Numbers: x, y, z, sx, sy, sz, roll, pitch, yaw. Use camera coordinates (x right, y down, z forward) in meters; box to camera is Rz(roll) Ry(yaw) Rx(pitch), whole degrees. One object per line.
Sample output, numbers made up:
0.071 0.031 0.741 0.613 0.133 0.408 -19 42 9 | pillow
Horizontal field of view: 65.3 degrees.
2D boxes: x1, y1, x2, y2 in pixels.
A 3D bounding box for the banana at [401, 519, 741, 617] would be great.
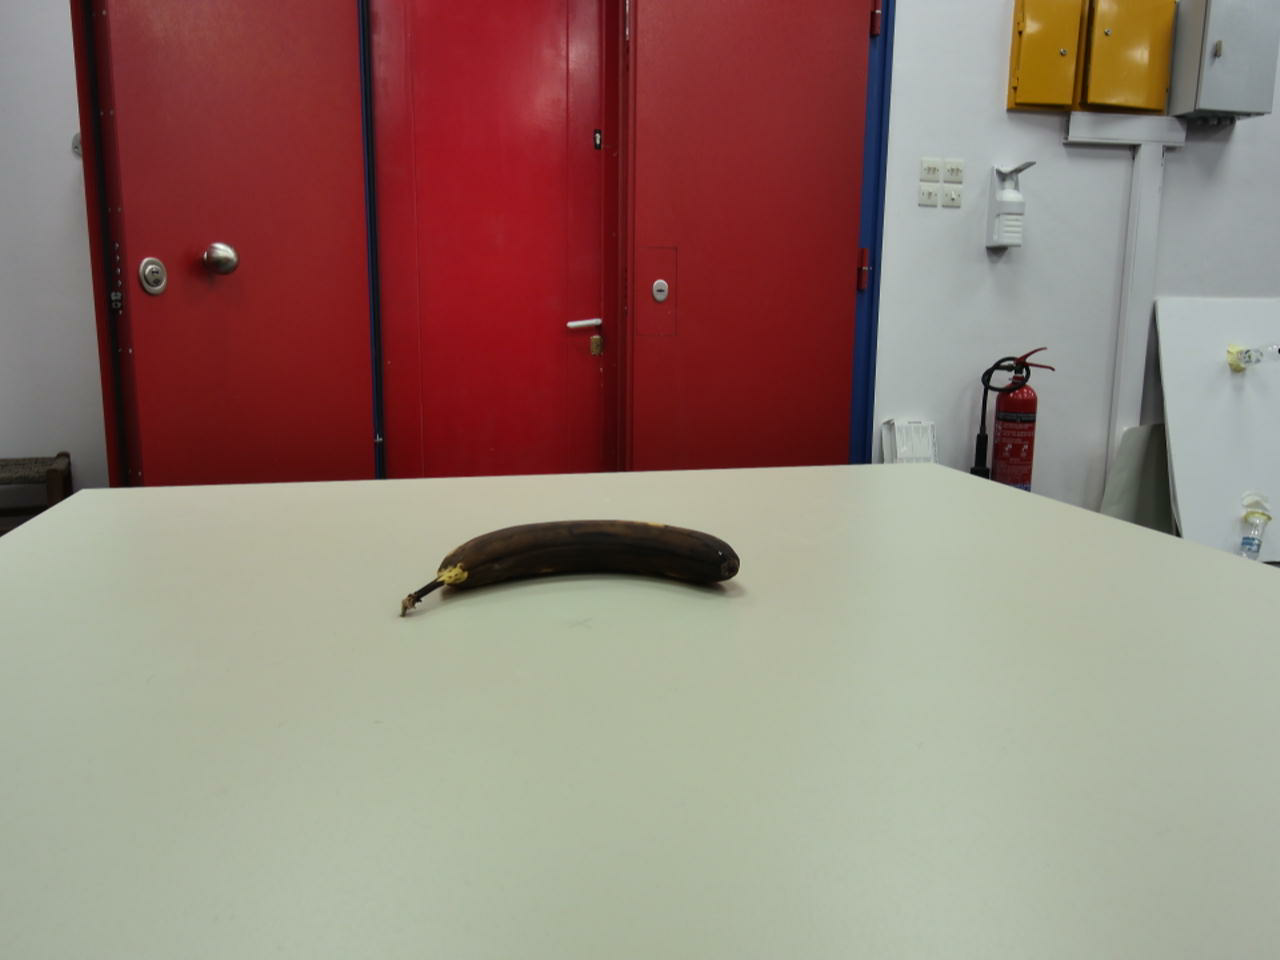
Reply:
-0.040 0.045 0.577 0.188 0.033 0.091 -2 8 -11 | banana
